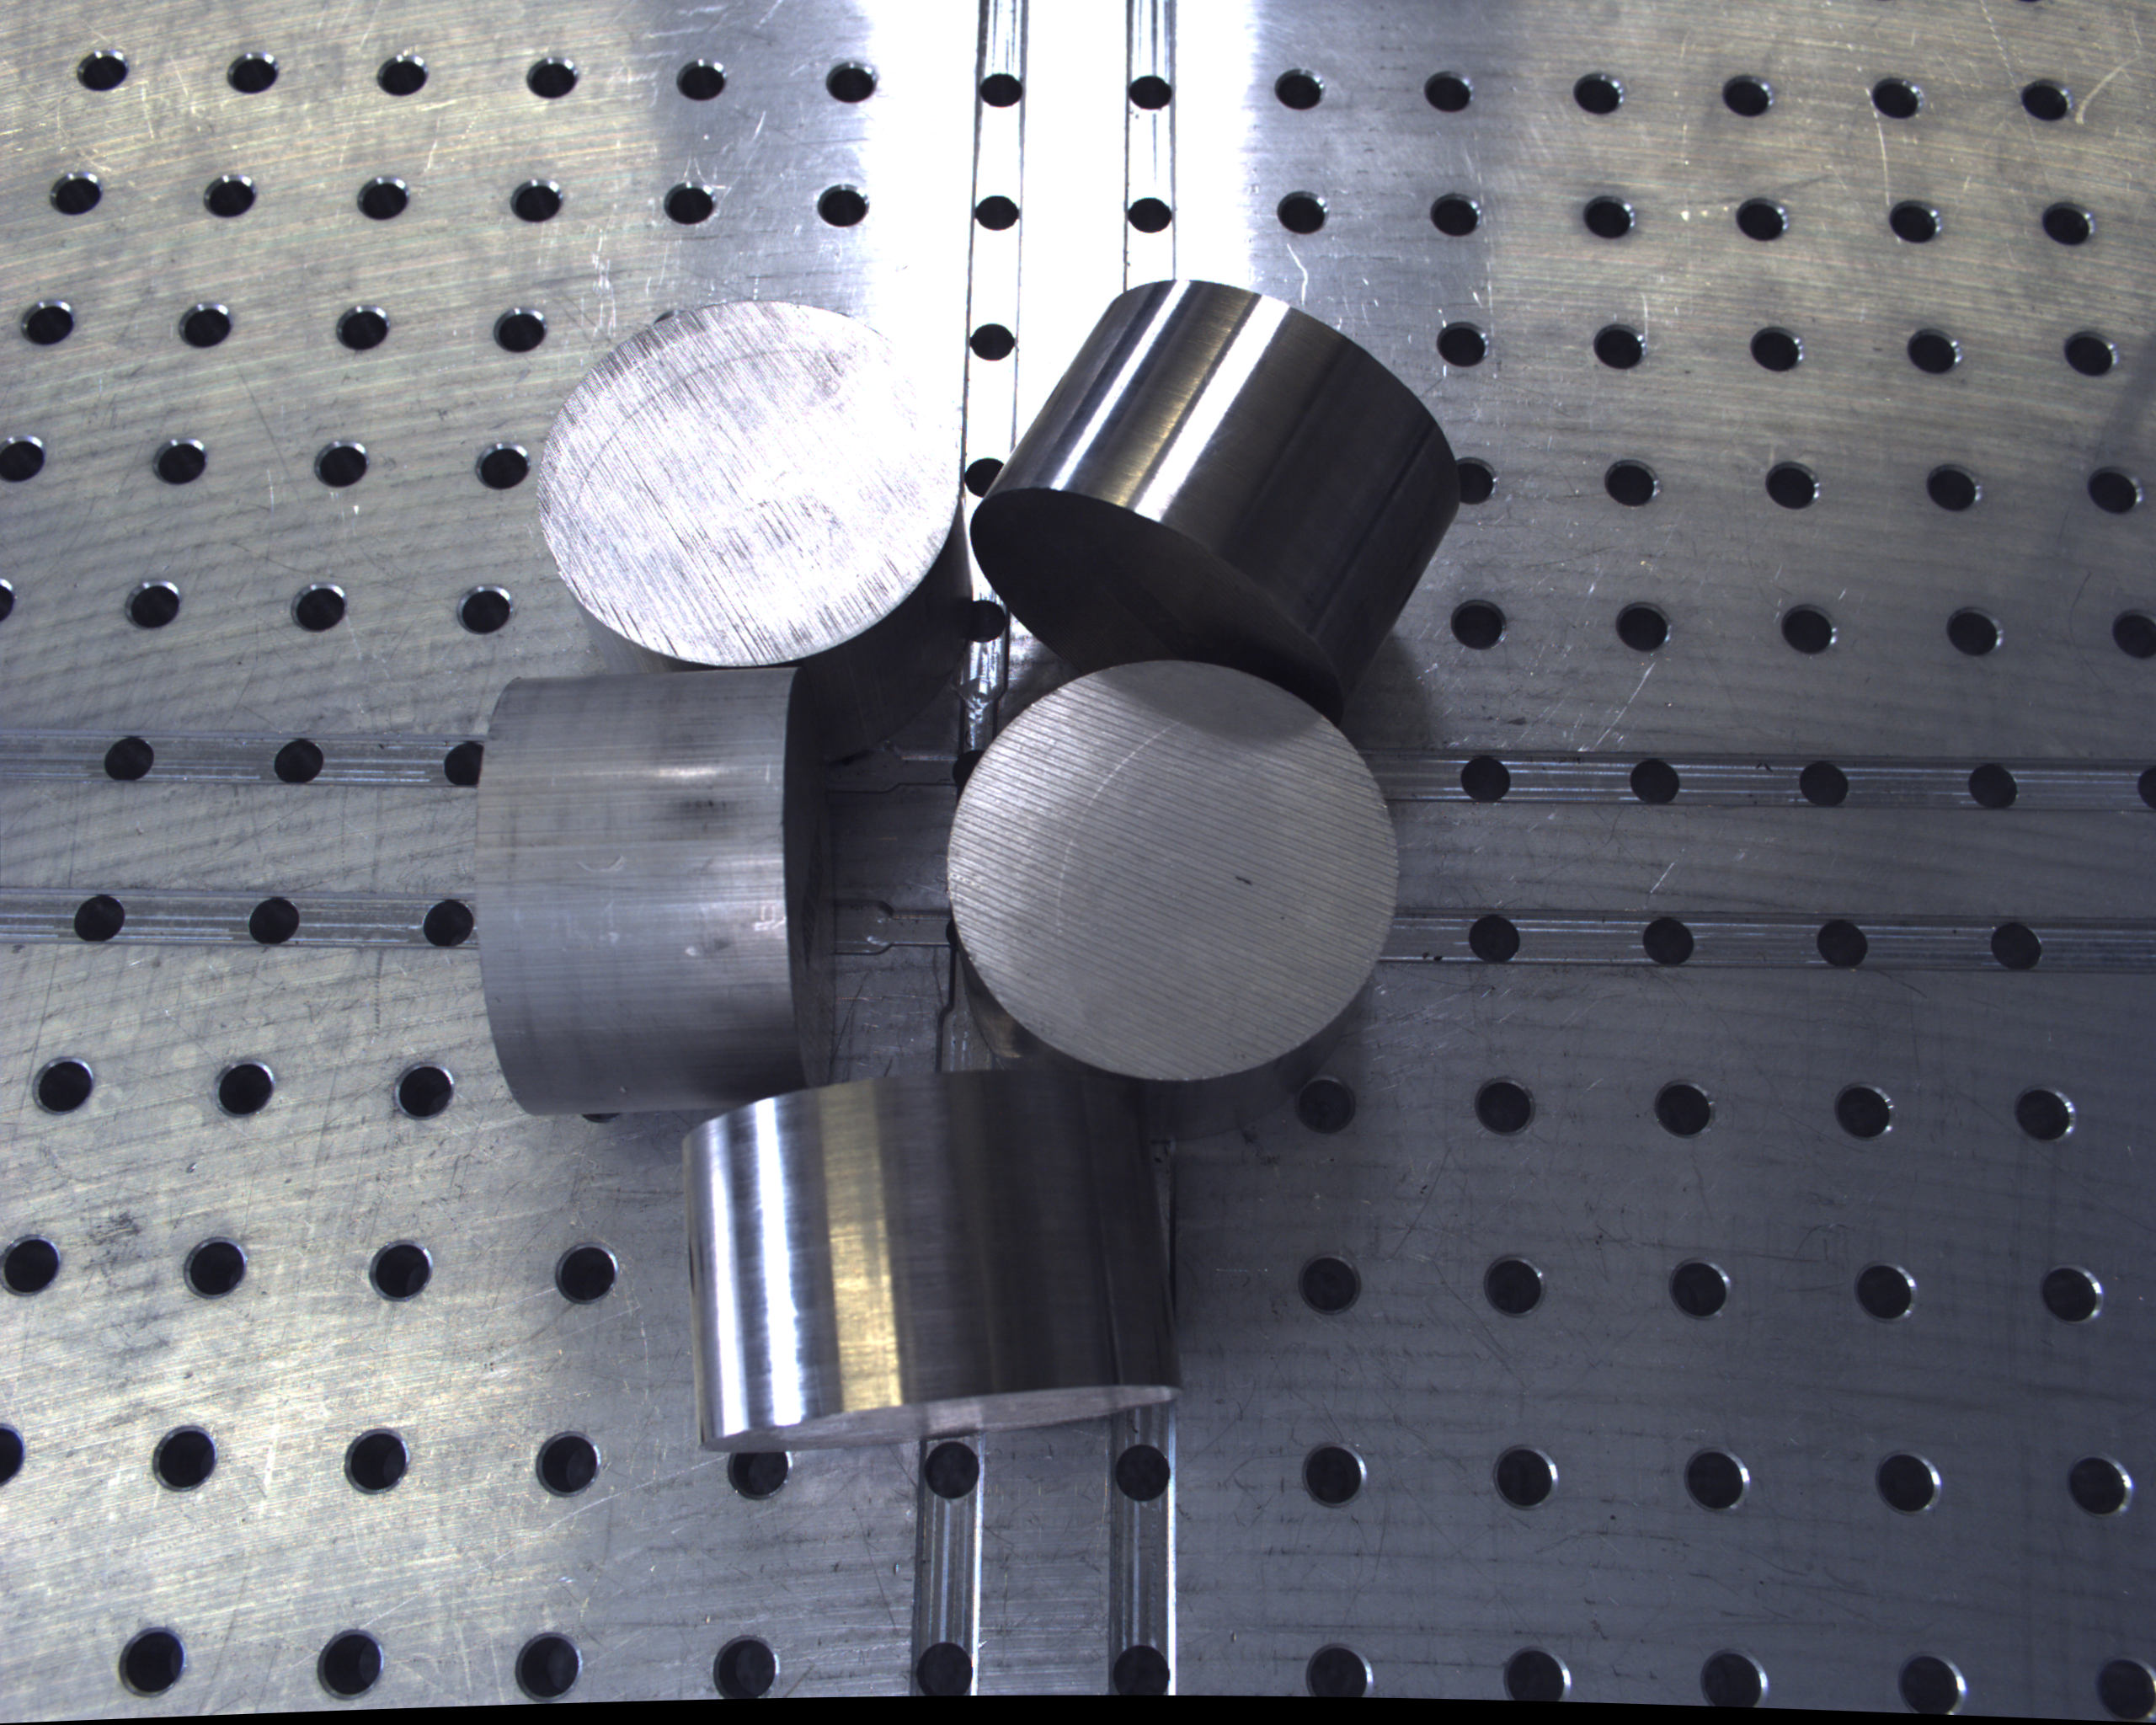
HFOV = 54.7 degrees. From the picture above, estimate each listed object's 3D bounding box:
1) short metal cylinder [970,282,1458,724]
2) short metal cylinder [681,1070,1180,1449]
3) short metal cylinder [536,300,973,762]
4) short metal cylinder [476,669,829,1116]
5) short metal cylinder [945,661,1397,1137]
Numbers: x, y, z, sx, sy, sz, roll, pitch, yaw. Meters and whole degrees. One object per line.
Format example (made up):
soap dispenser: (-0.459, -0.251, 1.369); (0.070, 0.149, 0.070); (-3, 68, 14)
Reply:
short metal cylinder: (0.026, -0.066, 0.407); (0.080, 0.080, 0.050); (27, 72, 9)
short metal cylinder: (-0.026, 0.070, 0.356); (0.081, 0.080, 0.050); (-6, 71, -2)
short metal cylinder: (-0.063, -0.065, 0.421); (0.080, 0.050, 0.080); (0, 70, 1)
short metal cylinder: (-0.074, 0.005, 0.381); (0.050, 0.080, 0.080); (-2, 70, -1)
short metal cylinder: (0.016, 0.008, 0.395); (0.081, 0.050, 0.080); (0, 70, -1)
